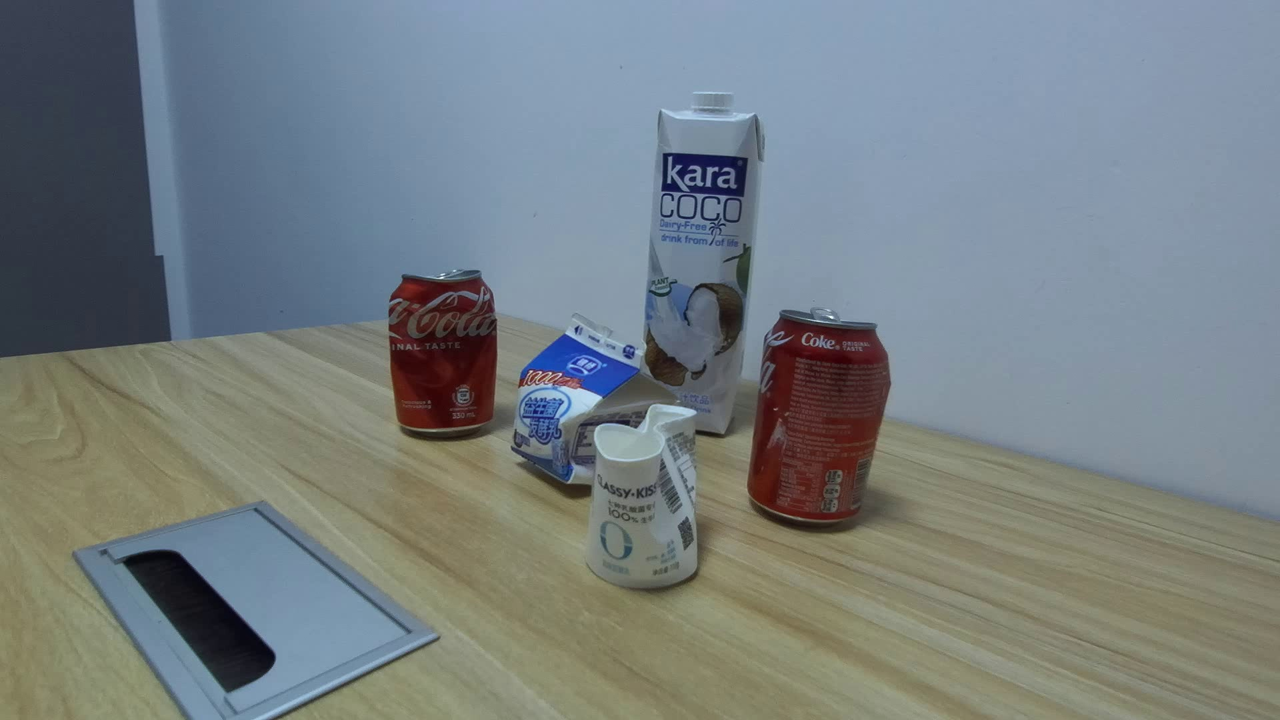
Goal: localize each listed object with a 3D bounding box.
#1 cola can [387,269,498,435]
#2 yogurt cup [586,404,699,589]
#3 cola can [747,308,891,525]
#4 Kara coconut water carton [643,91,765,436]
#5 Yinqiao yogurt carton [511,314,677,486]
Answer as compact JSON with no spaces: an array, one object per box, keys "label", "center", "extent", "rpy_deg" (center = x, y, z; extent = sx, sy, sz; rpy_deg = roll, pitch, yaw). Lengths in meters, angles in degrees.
[{"label":"cola can","center":[-0.135,-0.007,0.497],"extent":[0.069,0.112,0.065],"rpy_deg":[2,15,-8]},{"label":"yogurt cup","center":[0.003,0.064,0.336],"extent":[0.054,0.071,0.075],"rpy_deg":[3,14,-5]},{"label":"cola can","center":[0.097,0.032,0.402],"extent":[0.072,0.117,0.066],"rpy_deg":[15,18,38]},{"label":"Kara coconut water carton","center":[0.046,-0.070,0.530],"extent":[0.077,0.245,0.075],"rpy_deg":[7,13,13]},{"label":"Yinqiao yogurt carton","center":[-0.028,0.024,0.436],"extent":[0.081,0.097,0.074],"rpy_deg":[0,15,-44]}]
